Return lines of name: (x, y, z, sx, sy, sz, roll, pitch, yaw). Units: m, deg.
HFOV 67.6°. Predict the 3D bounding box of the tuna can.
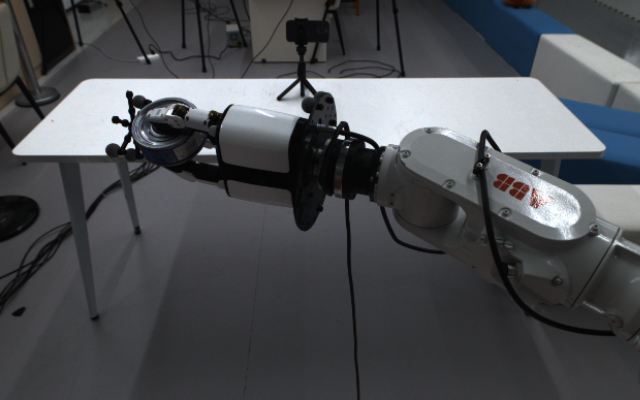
tuna can: (-0.183, -0.082, 0.595, 0.085, 0.034, 0.085, -1, 59, 2)
